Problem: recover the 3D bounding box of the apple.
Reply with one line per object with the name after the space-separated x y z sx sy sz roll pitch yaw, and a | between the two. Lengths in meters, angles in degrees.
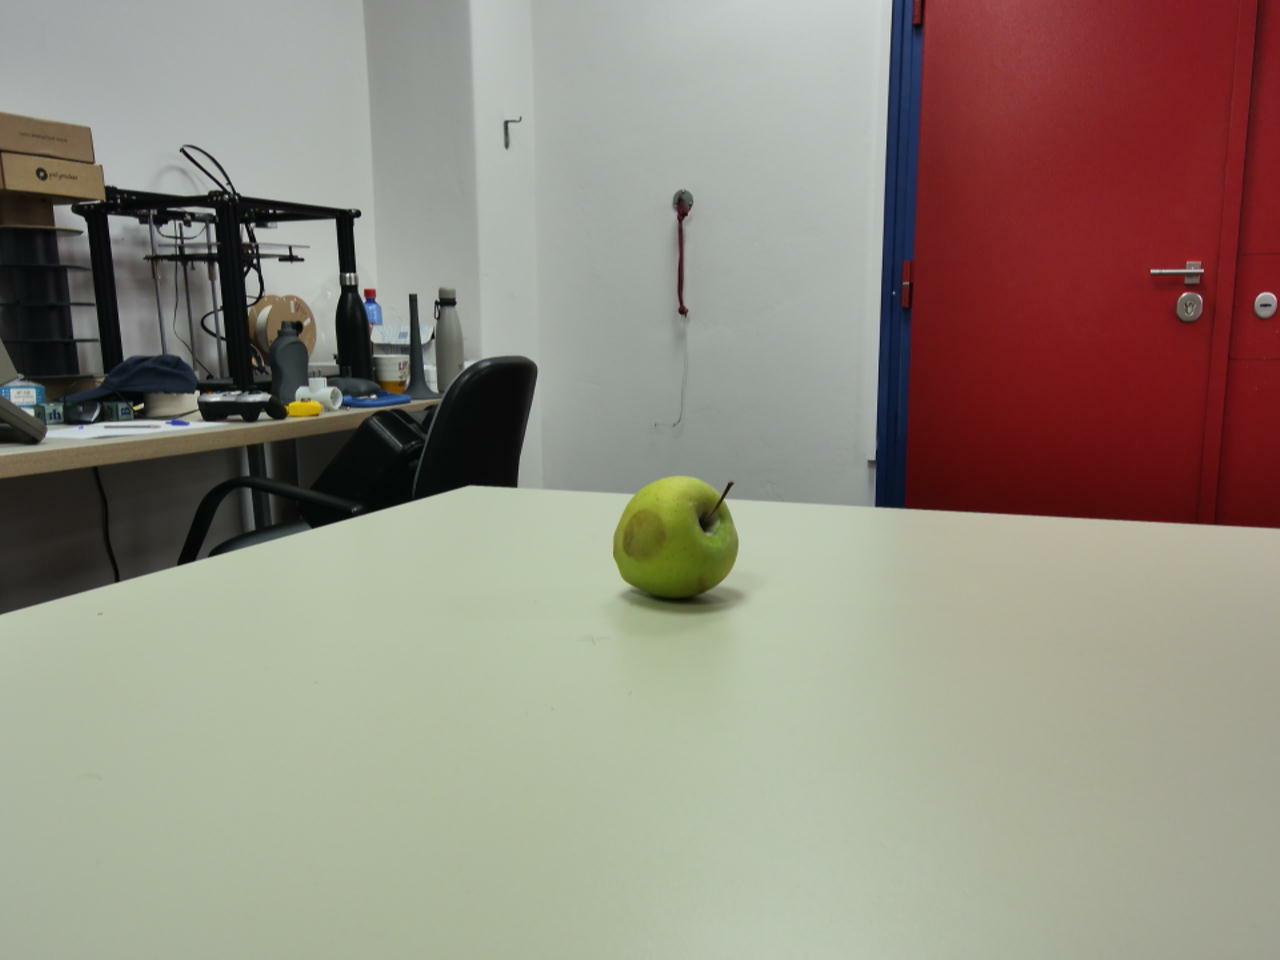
0.023 0.034 0.621 0.072 0.075 0.077 -4 8 -23 | apple
